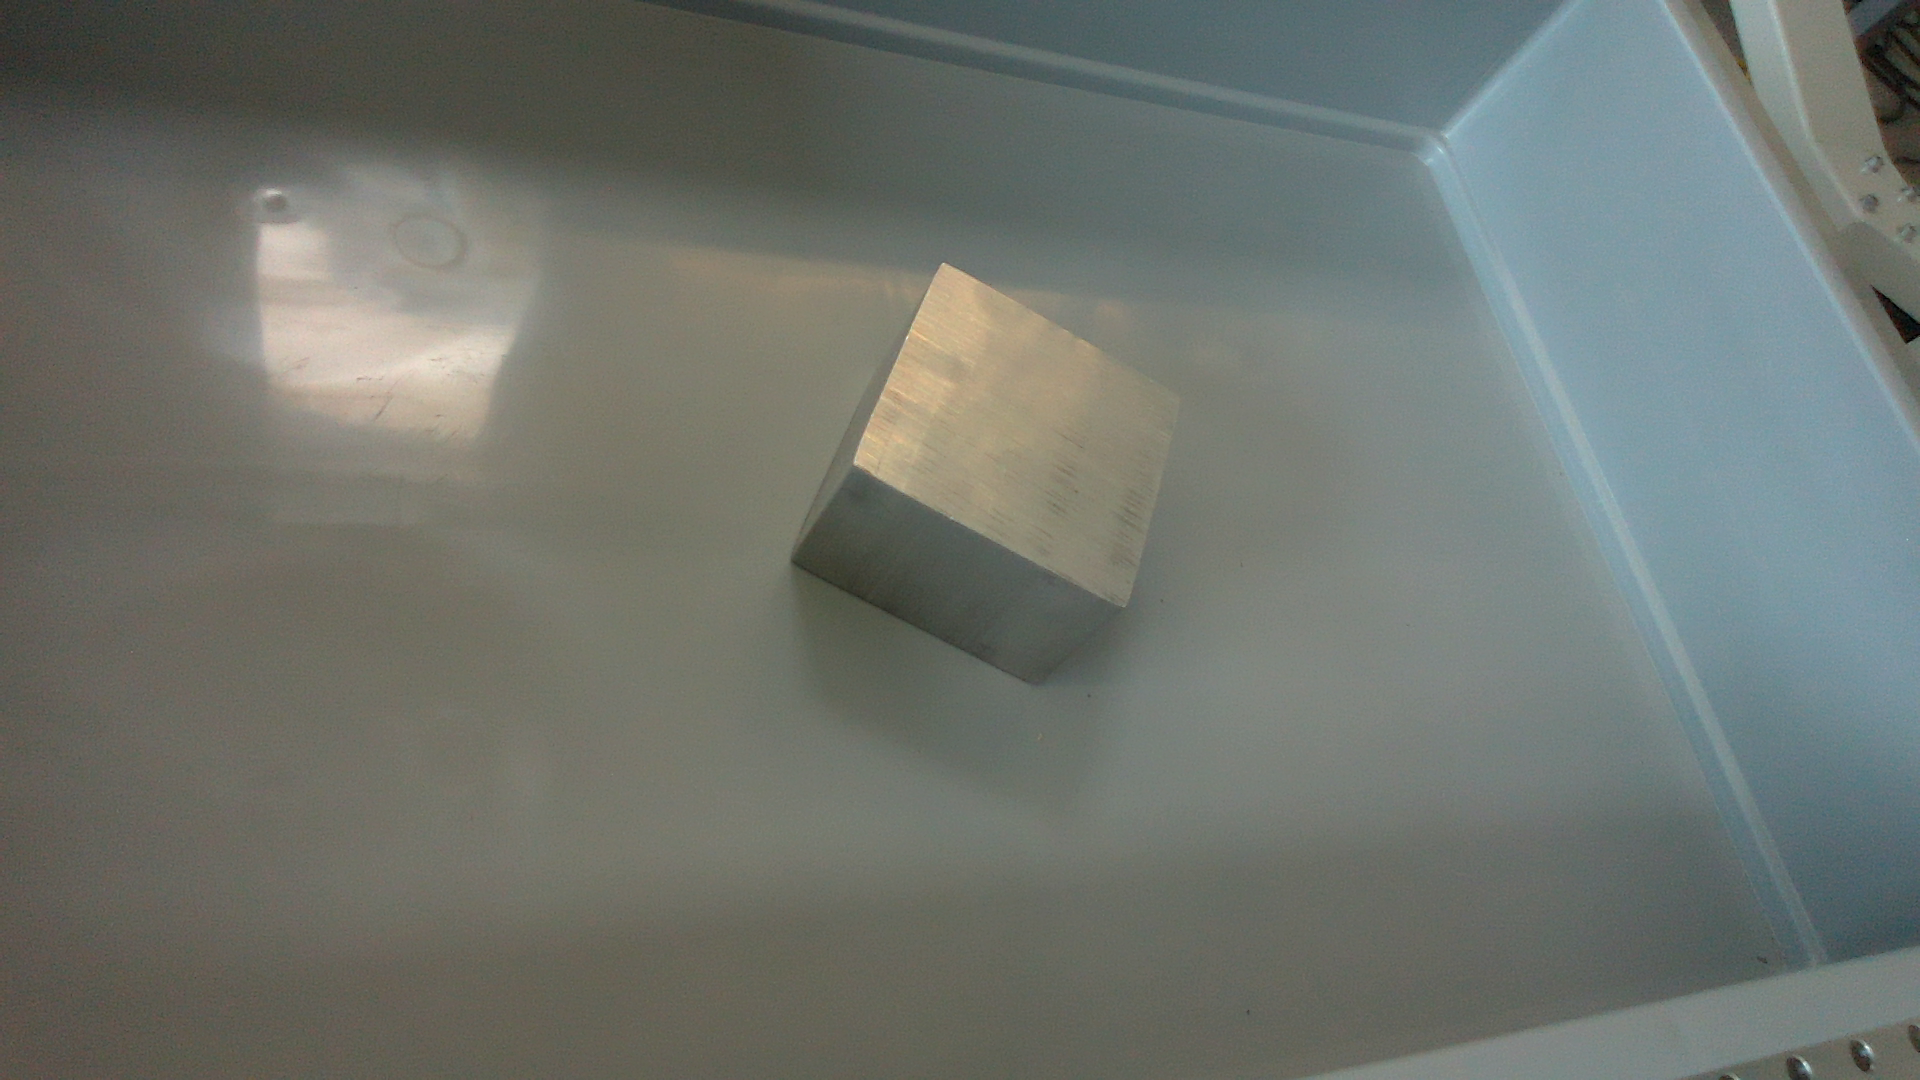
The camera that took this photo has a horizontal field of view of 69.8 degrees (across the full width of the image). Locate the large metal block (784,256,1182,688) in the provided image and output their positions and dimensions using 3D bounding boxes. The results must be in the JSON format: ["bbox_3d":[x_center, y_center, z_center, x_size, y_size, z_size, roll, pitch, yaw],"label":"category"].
[{"bbox_3d":[0.008,-0.019,0.385,0.080,0.050,0.080,28,51,-11],"label":"large metal block"}]
